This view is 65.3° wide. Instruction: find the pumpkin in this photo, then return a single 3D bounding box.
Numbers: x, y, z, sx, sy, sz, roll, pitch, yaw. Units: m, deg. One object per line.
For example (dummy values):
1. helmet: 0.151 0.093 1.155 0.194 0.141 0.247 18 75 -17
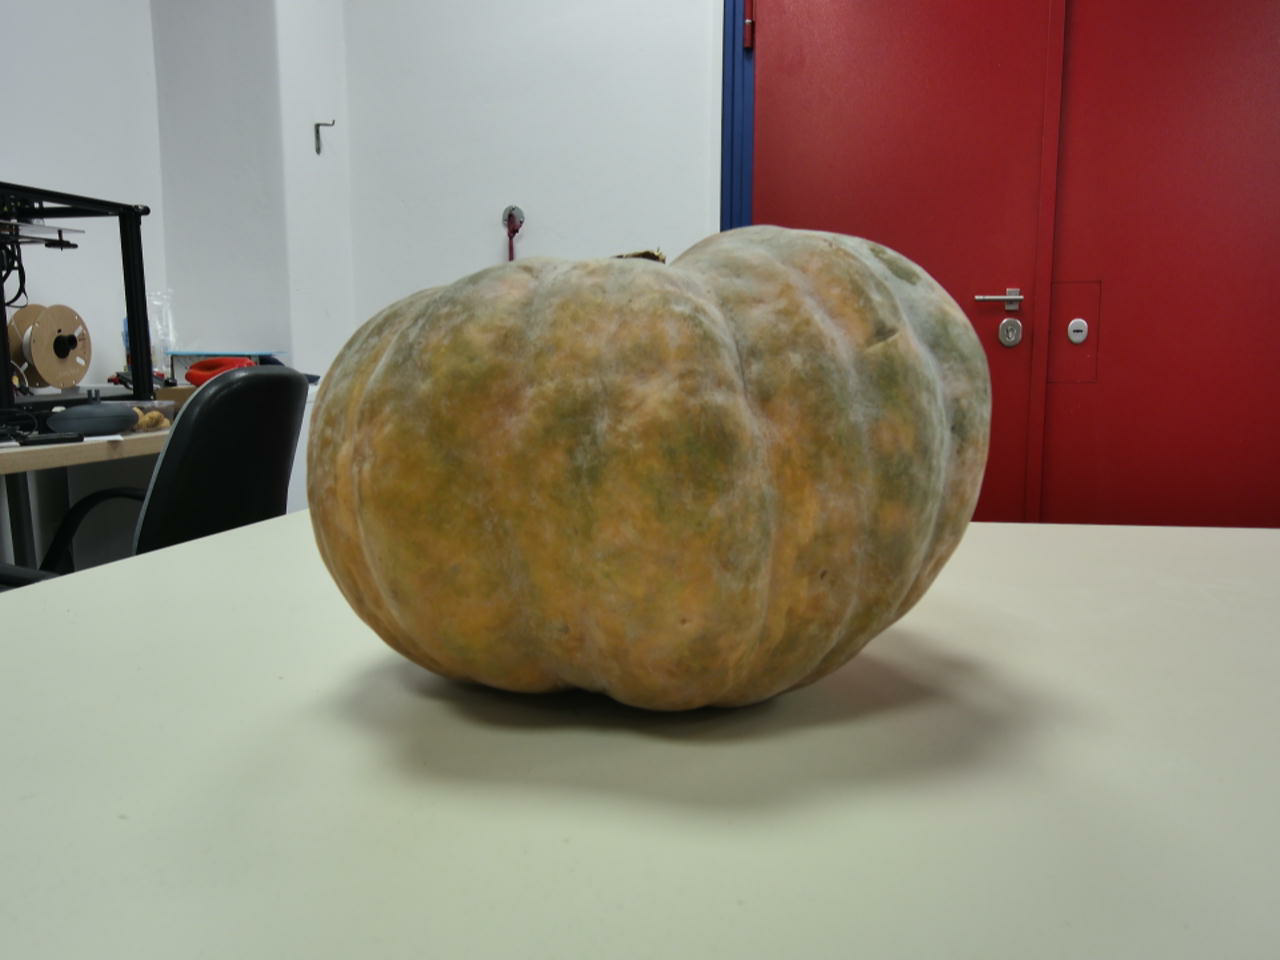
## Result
1. pumpkin: -0.002 -0.007 0.390 0.252 0.168 0.252 0 4 0
